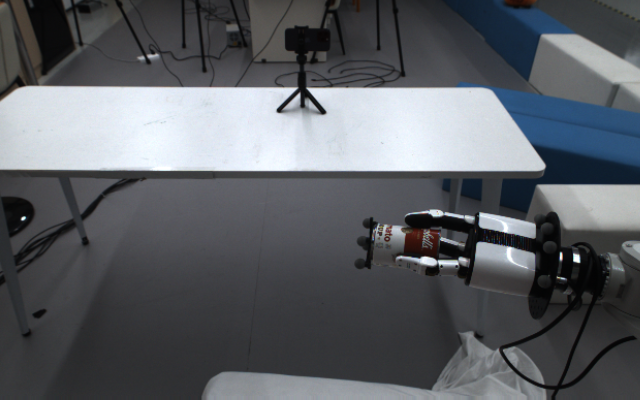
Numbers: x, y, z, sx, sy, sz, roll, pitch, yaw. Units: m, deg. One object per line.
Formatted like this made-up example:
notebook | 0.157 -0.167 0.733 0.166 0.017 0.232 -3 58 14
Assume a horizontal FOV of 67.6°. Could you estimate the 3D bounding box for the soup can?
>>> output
soup can | 0.136 0.074 0.755 0.101 0.067 0.067 5 34 13
